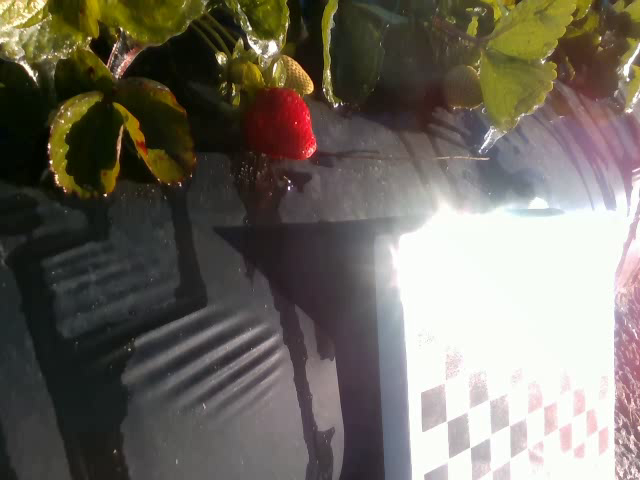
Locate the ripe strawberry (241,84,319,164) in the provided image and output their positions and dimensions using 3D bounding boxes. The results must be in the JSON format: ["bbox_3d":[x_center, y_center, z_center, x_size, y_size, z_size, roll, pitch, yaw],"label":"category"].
[{"bbox_3d":[-0.011,-0.043,0.248,0.039,0.040,0.039,-16,38,-32],"label":"ripe strawberry"}]
